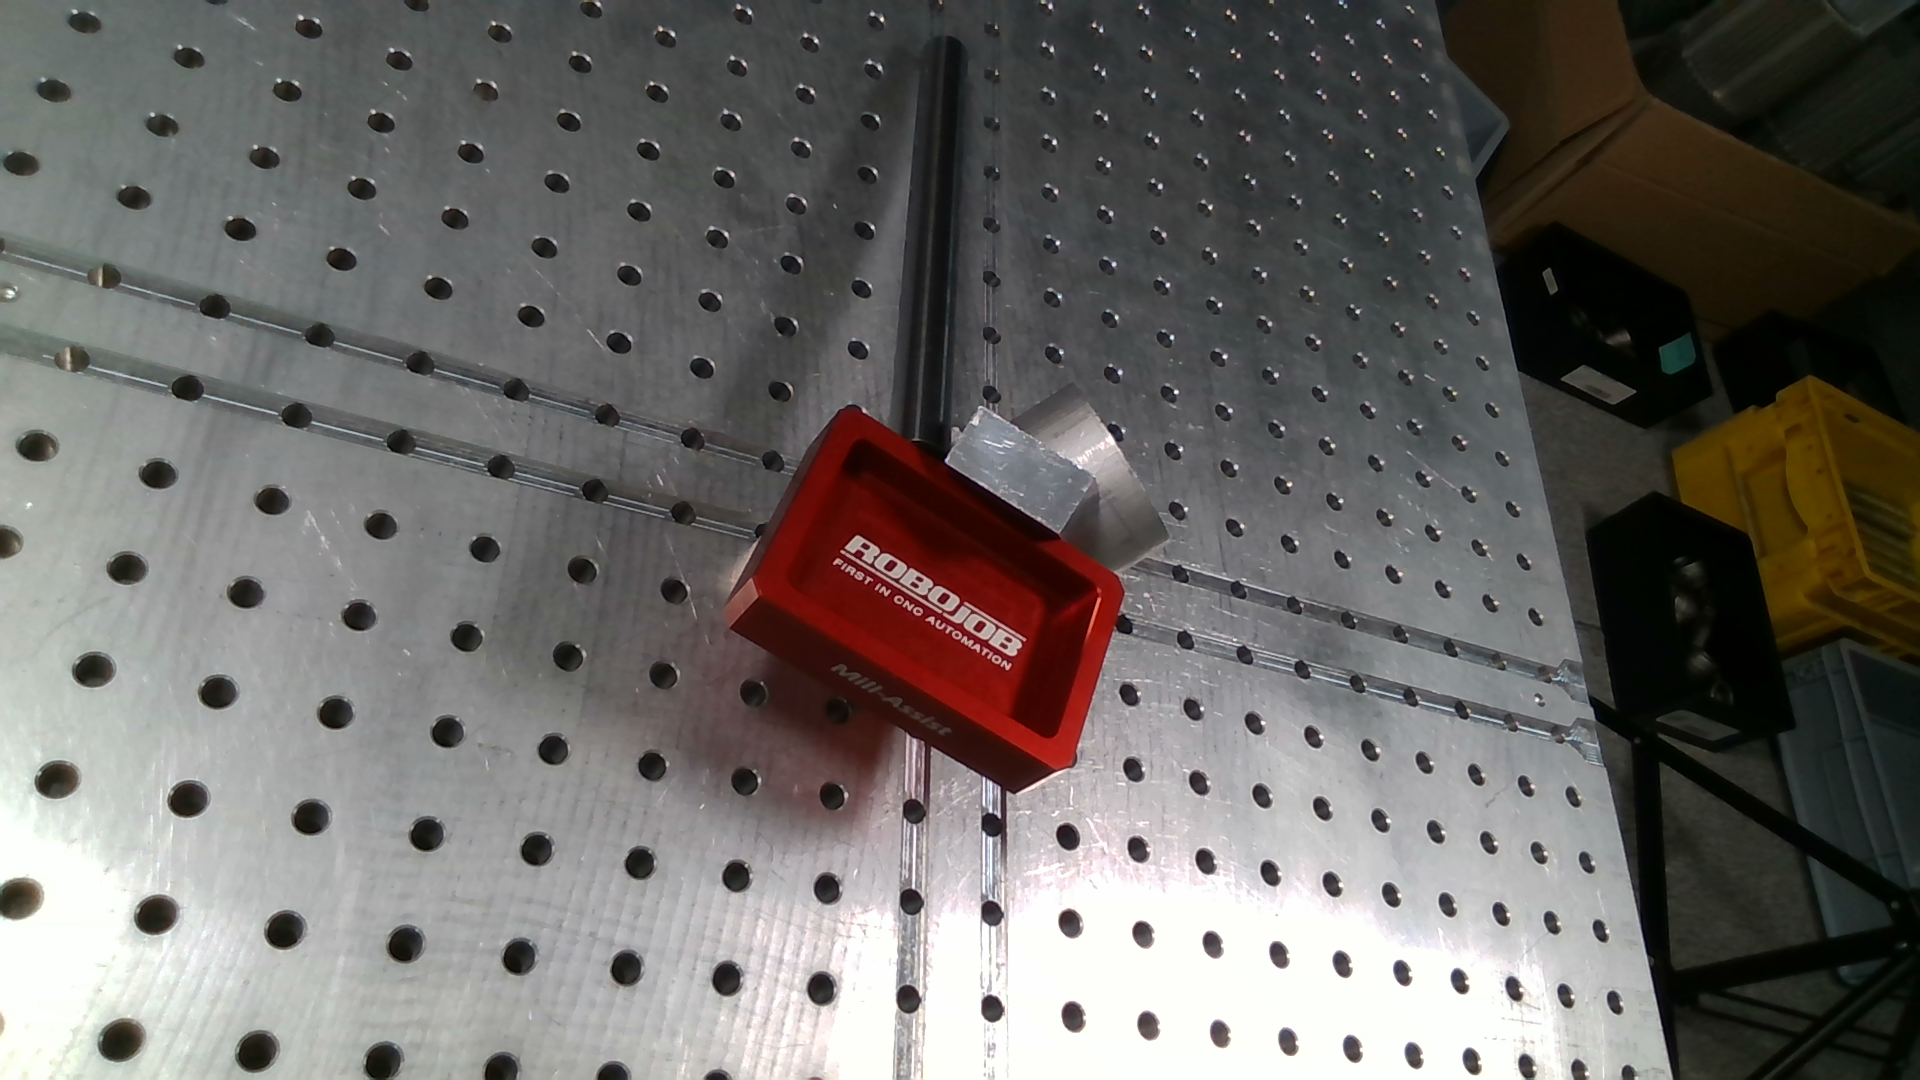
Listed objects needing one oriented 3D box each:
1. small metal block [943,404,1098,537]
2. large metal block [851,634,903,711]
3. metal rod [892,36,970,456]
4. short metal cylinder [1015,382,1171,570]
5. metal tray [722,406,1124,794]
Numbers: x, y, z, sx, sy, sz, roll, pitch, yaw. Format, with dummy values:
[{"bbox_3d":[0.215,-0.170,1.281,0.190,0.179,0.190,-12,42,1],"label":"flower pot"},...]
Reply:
[{"bbox_3d":[0.025,-0.024,0.523,0.050,0.050,0.025,32,91,8],"label":"small metal block"},{"bbox_3d":[-0.022,0.010,0.553,0.080,0.050,0.080,-25,80,-38],"label":"large metal block"},{"bbox_3d":[-0.011,-0.142,0.620,0.025,0.025,0.299,22,44,-20],"label":"metal rod"},{"bbox_3d":[0.047,-0.020,0.586,0.050,0.080,0.080,-31,81,4],"label":"short metal cylinder"},{"bbox_3d":[-0.009,0.021,0.500,0.130,0.030,0.090,32,52,-13],"label":"metal tray"}]
